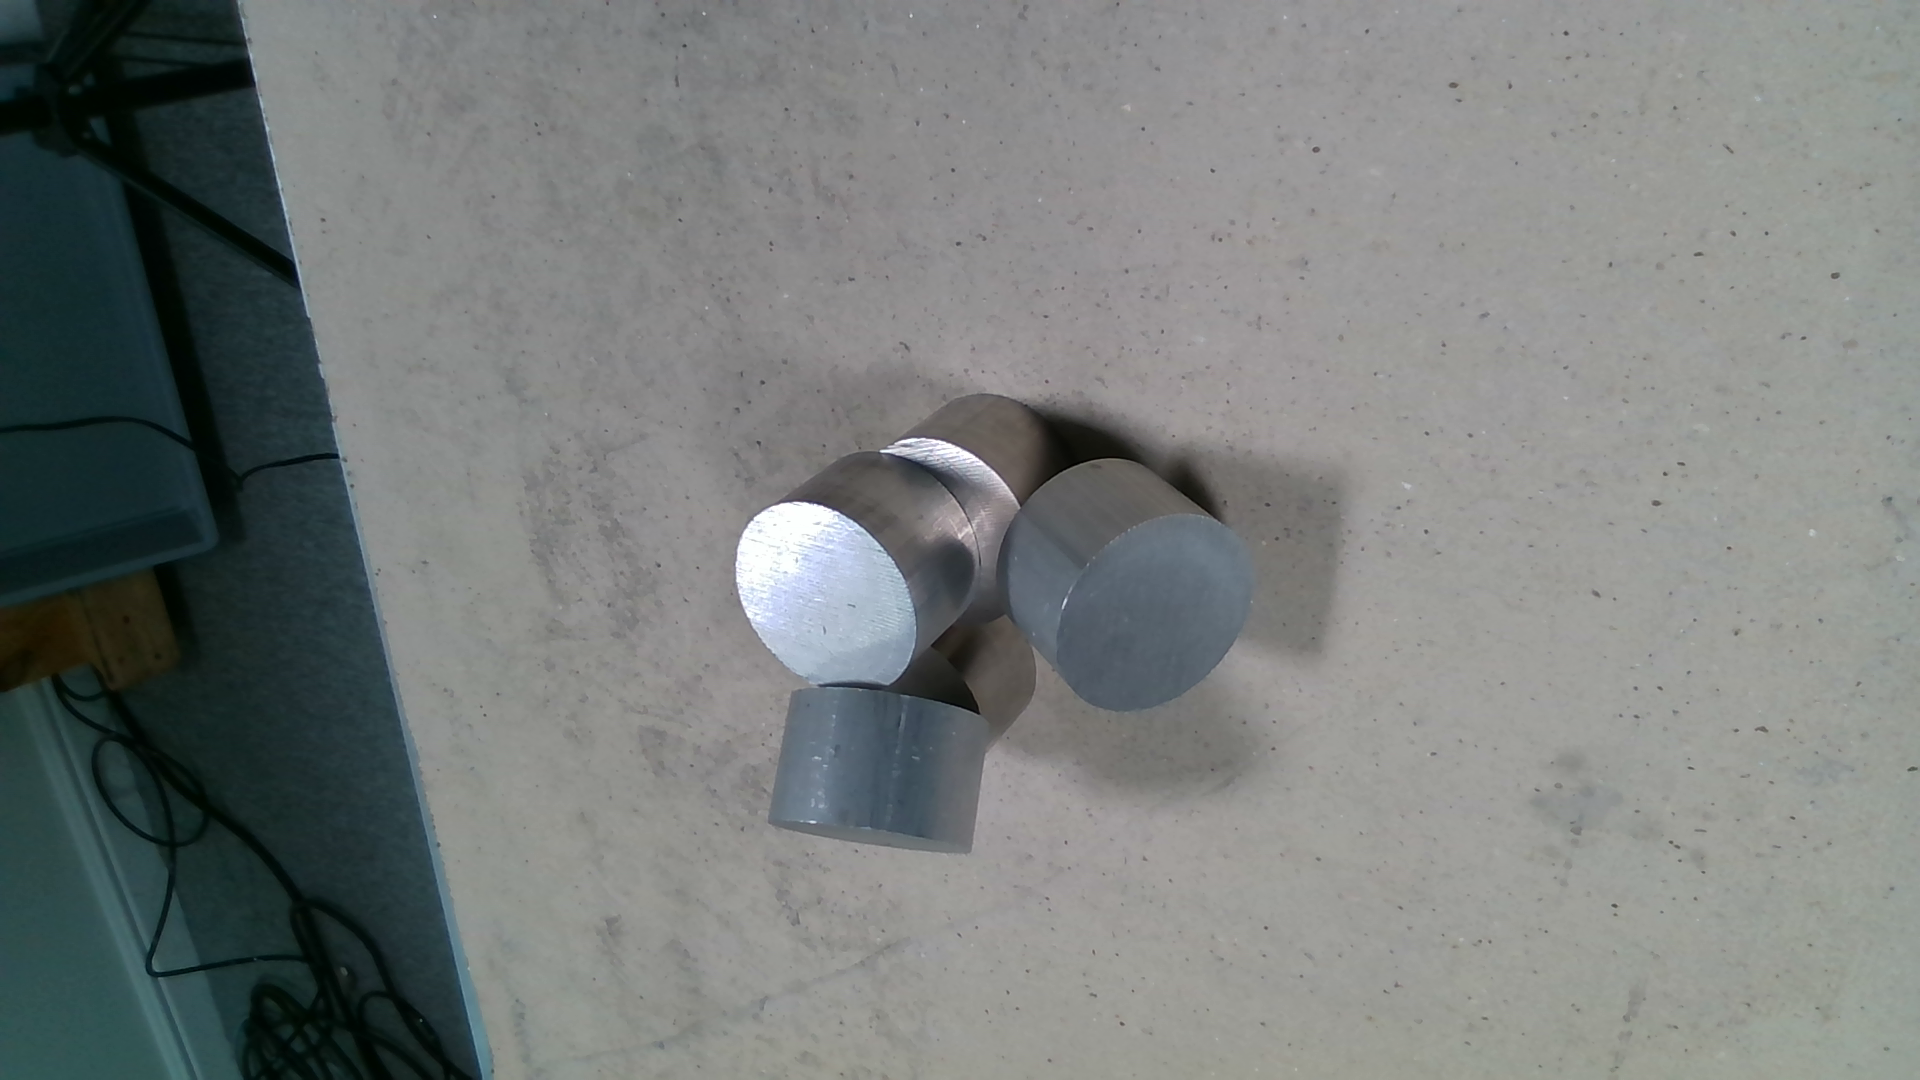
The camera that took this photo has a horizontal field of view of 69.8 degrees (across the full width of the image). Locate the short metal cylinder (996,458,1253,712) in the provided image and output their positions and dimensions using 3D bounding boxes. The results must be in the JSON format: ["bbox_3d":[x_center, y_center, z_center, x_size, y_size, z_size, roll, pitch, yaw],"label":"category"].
[{"bbox_3d":[0.060,0.016,0.508,0.050,0.080,0.080,-132,35,-54],"label":"short metal cylinder"}]

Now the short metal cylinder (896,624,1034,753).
[{"bbox_3d":[-0.014,0.062,0.606,0.080,0.050,0.080,14,122,25],"label":"short metal cylinder"}]

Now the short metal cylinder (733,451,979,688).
[{"bbox_3d":[-0.040,0.012,0.529,0.080,0.050,0.080,14,122,25],"label":"short metal cylinder"}]

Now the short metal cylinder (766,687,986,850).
[{"bbox_3d":[-0.033,0.091,0.541,0.080,0.080,0.050,-3,70,33],"label":"short metal cylinder"}]

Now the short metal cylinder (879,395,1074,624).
[{"bbox_3d":[0.003,-0.013,0.554,0.080,0.050,0.080,14,122,25],"label":"short metal cylinder"}]
